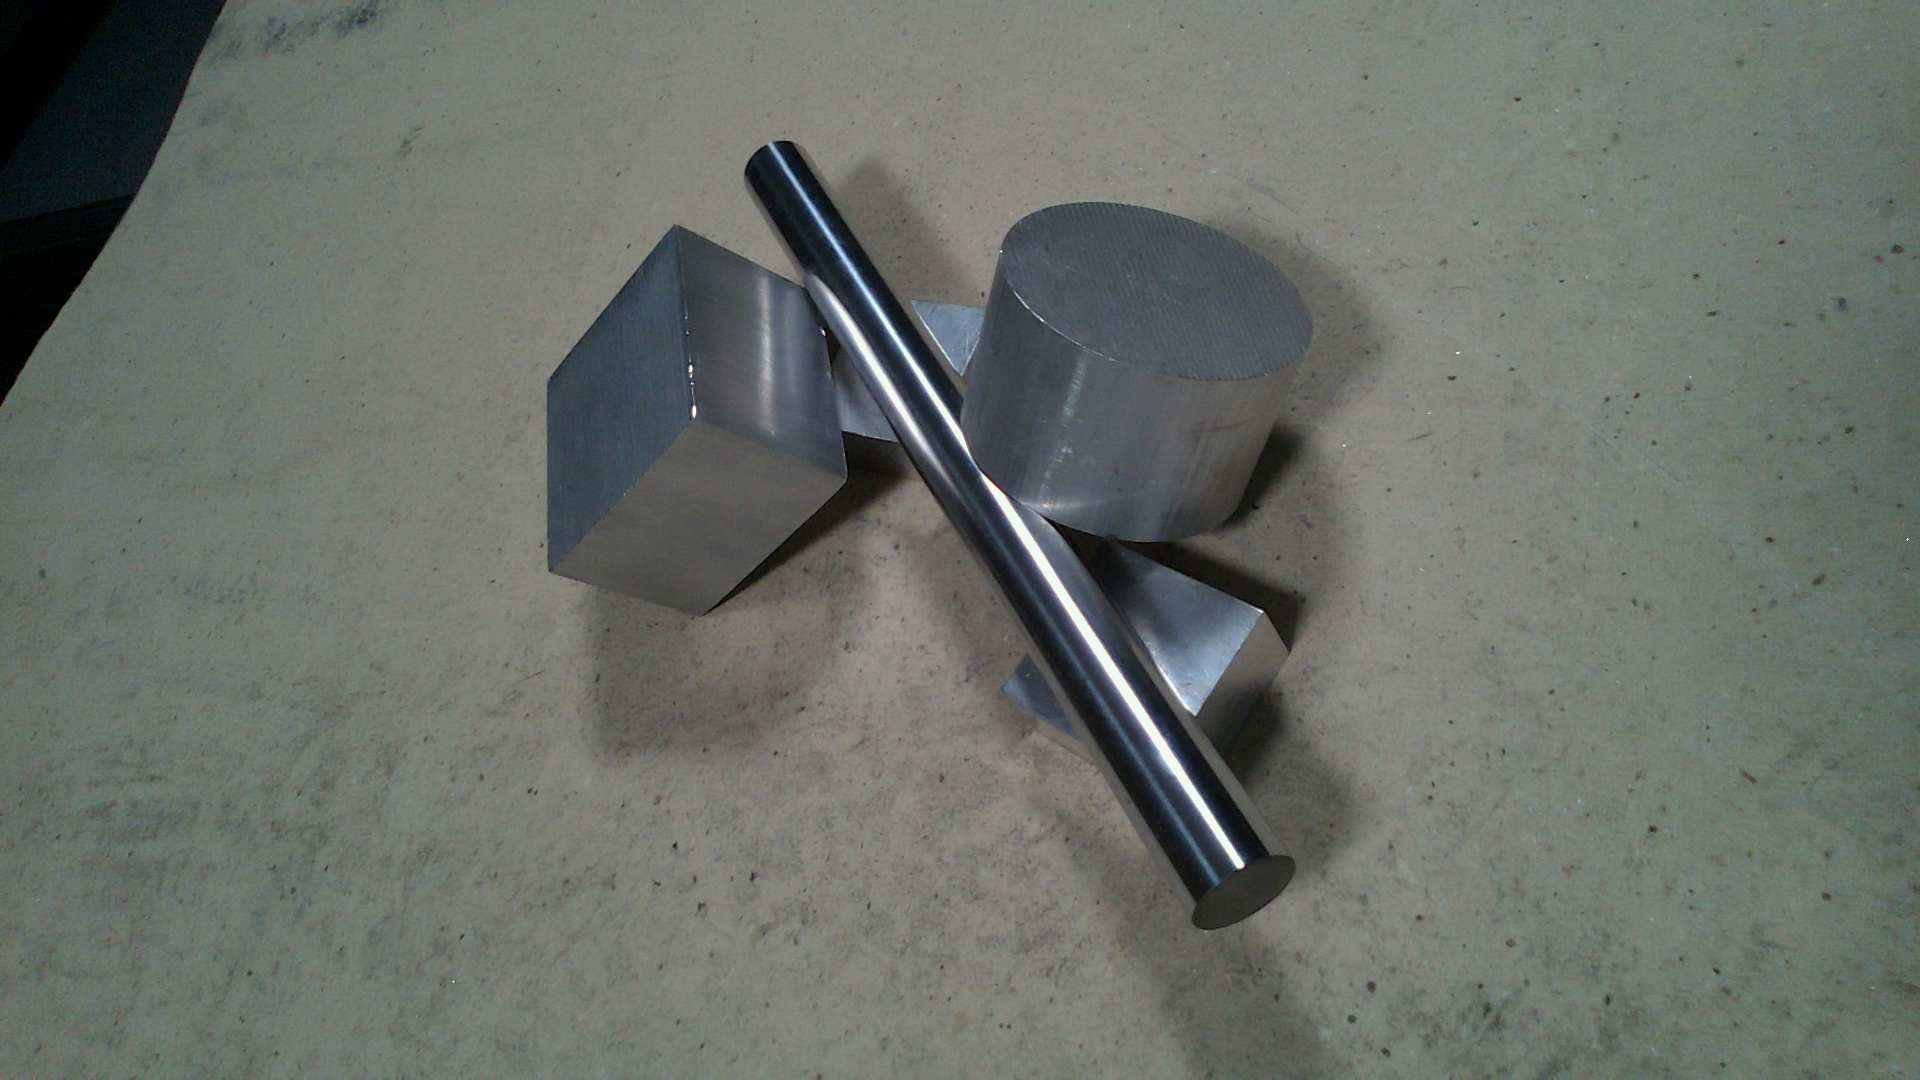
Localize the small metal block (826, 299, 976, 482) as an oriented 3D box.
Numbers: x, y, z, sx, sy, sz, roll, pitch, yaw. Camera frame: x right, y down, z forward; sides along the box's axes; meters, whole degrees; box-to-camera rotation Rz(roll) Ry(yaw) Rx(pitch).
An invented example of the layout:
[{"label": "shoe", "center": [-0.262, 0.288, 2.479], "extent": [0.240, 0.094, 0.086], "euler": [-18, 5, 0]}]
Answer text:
[{"label": "small metal block", "center": [-0.015, -0.047, 0.432], "extent": [0.050, 0.025, 0.050], "euler": [13, 68, 34]}]

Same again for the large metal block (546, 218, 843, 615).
[{"label": "large metal block", "center": [-0.085, -0.036, 0.425], "extent": [0.080, 0.050, 0.080], "euler": [-40, 47, 33]}]

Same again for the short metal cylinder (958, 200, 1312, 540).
[{"label": "short metal cylinder", "center": [0.044, -0.045, 0.356], "extent": [0.080, 0.050, 0.080], "euler": [9, 40, -8]}]

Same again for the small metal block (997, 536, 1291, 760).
[{"label": "small metal block", "center": [0.047, 0.034, 0.348], "extent": [0.050, 0.025, 0.050], "euler": [27, 76, 37]}]

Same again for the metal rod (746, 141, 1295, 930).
[{"label": "metal rod", "center": [-0.002, -0.026, 0.379], "extent": [0.025, 0.025, 0.299], "euler": [-35, 51, 5]}]
